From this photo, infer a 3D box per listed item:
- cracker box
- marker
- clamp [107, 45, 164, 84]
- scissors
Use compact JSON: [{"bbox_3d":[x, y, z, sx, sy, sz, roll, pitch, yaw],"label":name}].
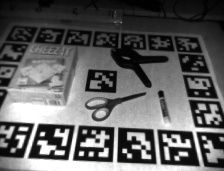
[{"bbox_3d":[-0.216,-0.050,0.703,0.164,0.072,0.213,4,50,0],"label":"cracker box"},{"bbox_3d":[0.155,0.048,0.676,0.020,0.020,0.120,0,49,-2],"label":"marker"},{"bbox_3d":[0.069,-0.099,0.801,0.201,0.037,0.166,27,52,17],"label":"clamp"},{"bbox_3d":[0.012,0.038,0.676,0.204,0.016,0.087,-19,53,-21],"label":"scissors"}]
